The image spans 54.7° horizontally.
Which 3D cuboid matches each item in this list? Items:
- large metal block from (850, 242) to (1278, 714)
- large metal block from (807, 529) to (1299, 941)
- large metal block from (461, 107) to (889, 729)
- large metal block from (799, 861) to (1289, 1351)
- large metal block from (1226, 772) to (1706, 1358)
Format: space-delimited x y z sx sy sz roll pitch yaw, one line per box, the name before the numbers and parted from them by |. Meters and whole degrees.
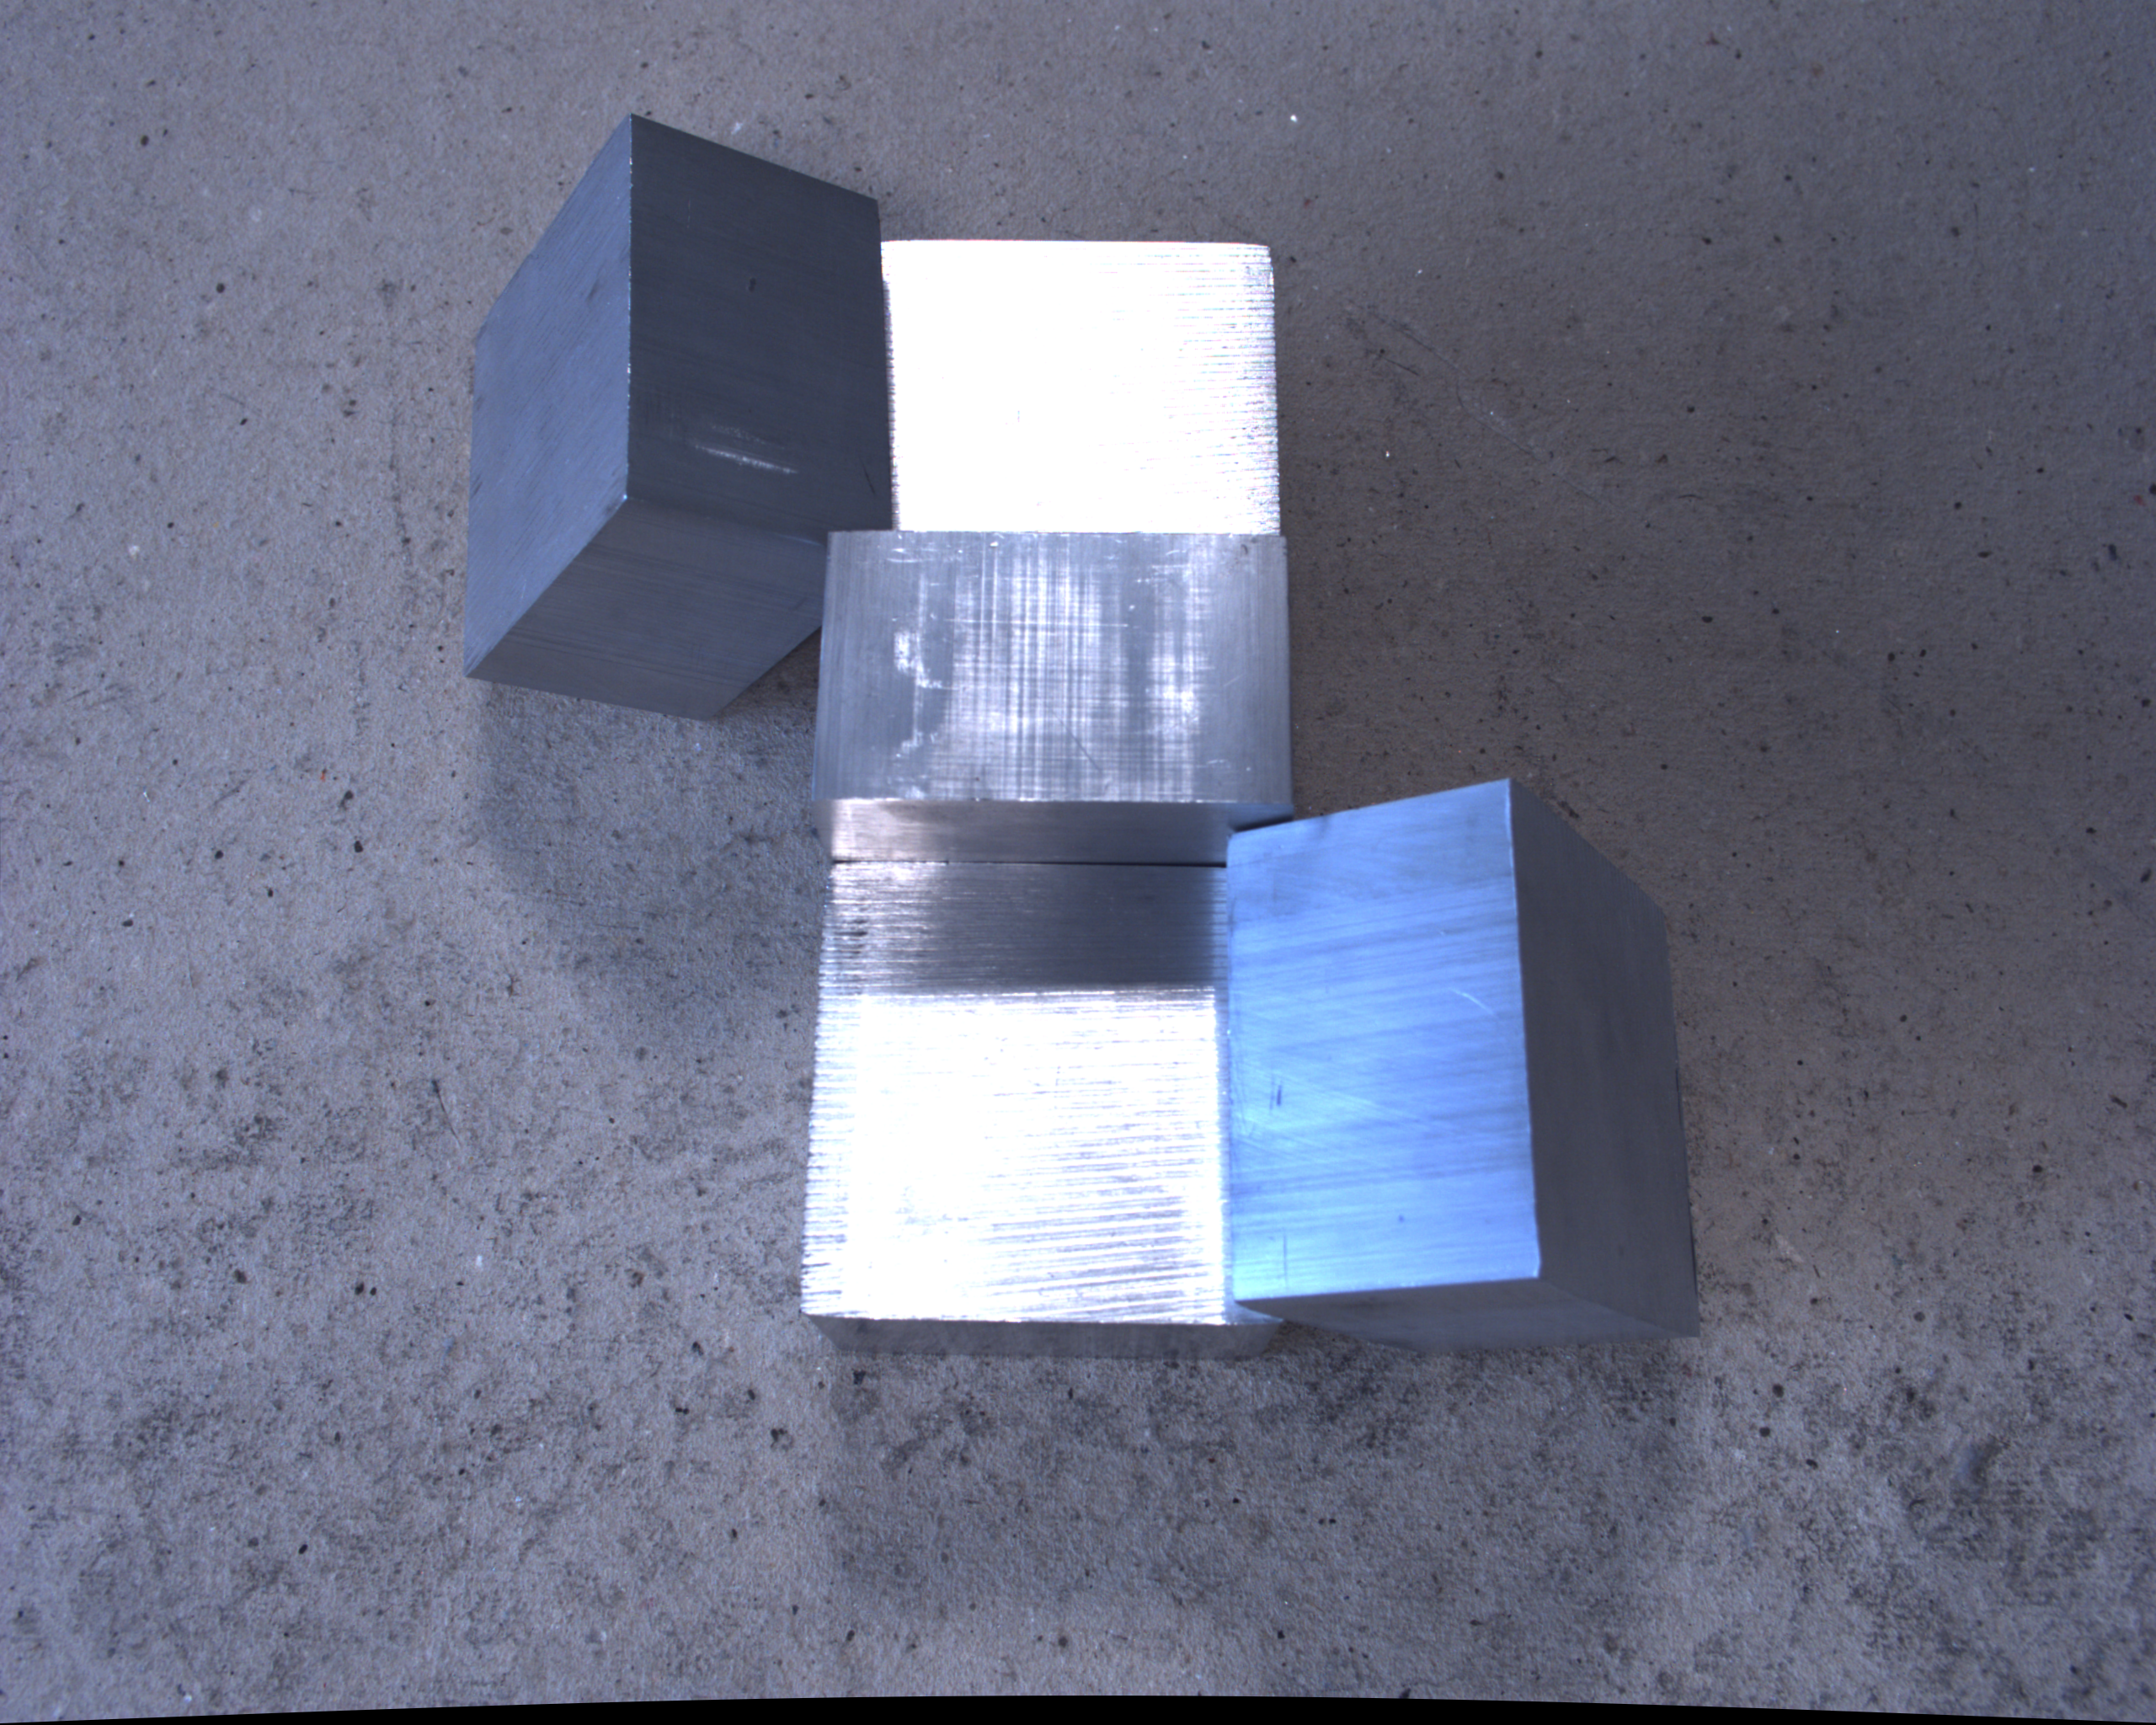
large metal block | -0.002 -0.077 0.422 0.080 0.050 0.080 0 70 0
large metal block | -0.004 -0.020 0.387 0.080 0.080 0.050 0 70 0
large metal block | -0.079 -0.081 0.402 0.050 0.080 0.080 10 66 -33
large metal block | -0.005 0.046 0.379 0.080 0.050 0.080 1 71 0
large metal block | 0.067 0.039 0.359 0.050 0.080 0.080 -12 67 30
